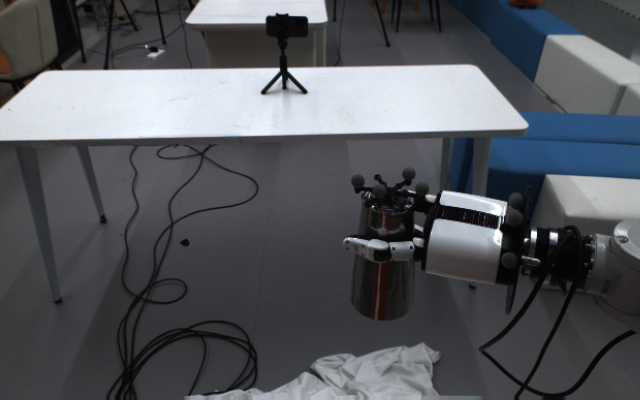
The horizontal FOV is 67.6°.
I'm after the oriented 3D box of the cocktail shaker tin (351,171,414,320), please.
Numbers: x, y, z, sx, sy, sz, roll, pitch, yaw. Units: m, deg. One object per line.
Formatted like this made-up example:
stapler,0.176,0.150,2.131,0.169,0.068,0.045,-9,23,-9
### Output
cocktail shaker tin,0.092,0.066,0.660,0.093,0.170,0.093,-1,32,1
